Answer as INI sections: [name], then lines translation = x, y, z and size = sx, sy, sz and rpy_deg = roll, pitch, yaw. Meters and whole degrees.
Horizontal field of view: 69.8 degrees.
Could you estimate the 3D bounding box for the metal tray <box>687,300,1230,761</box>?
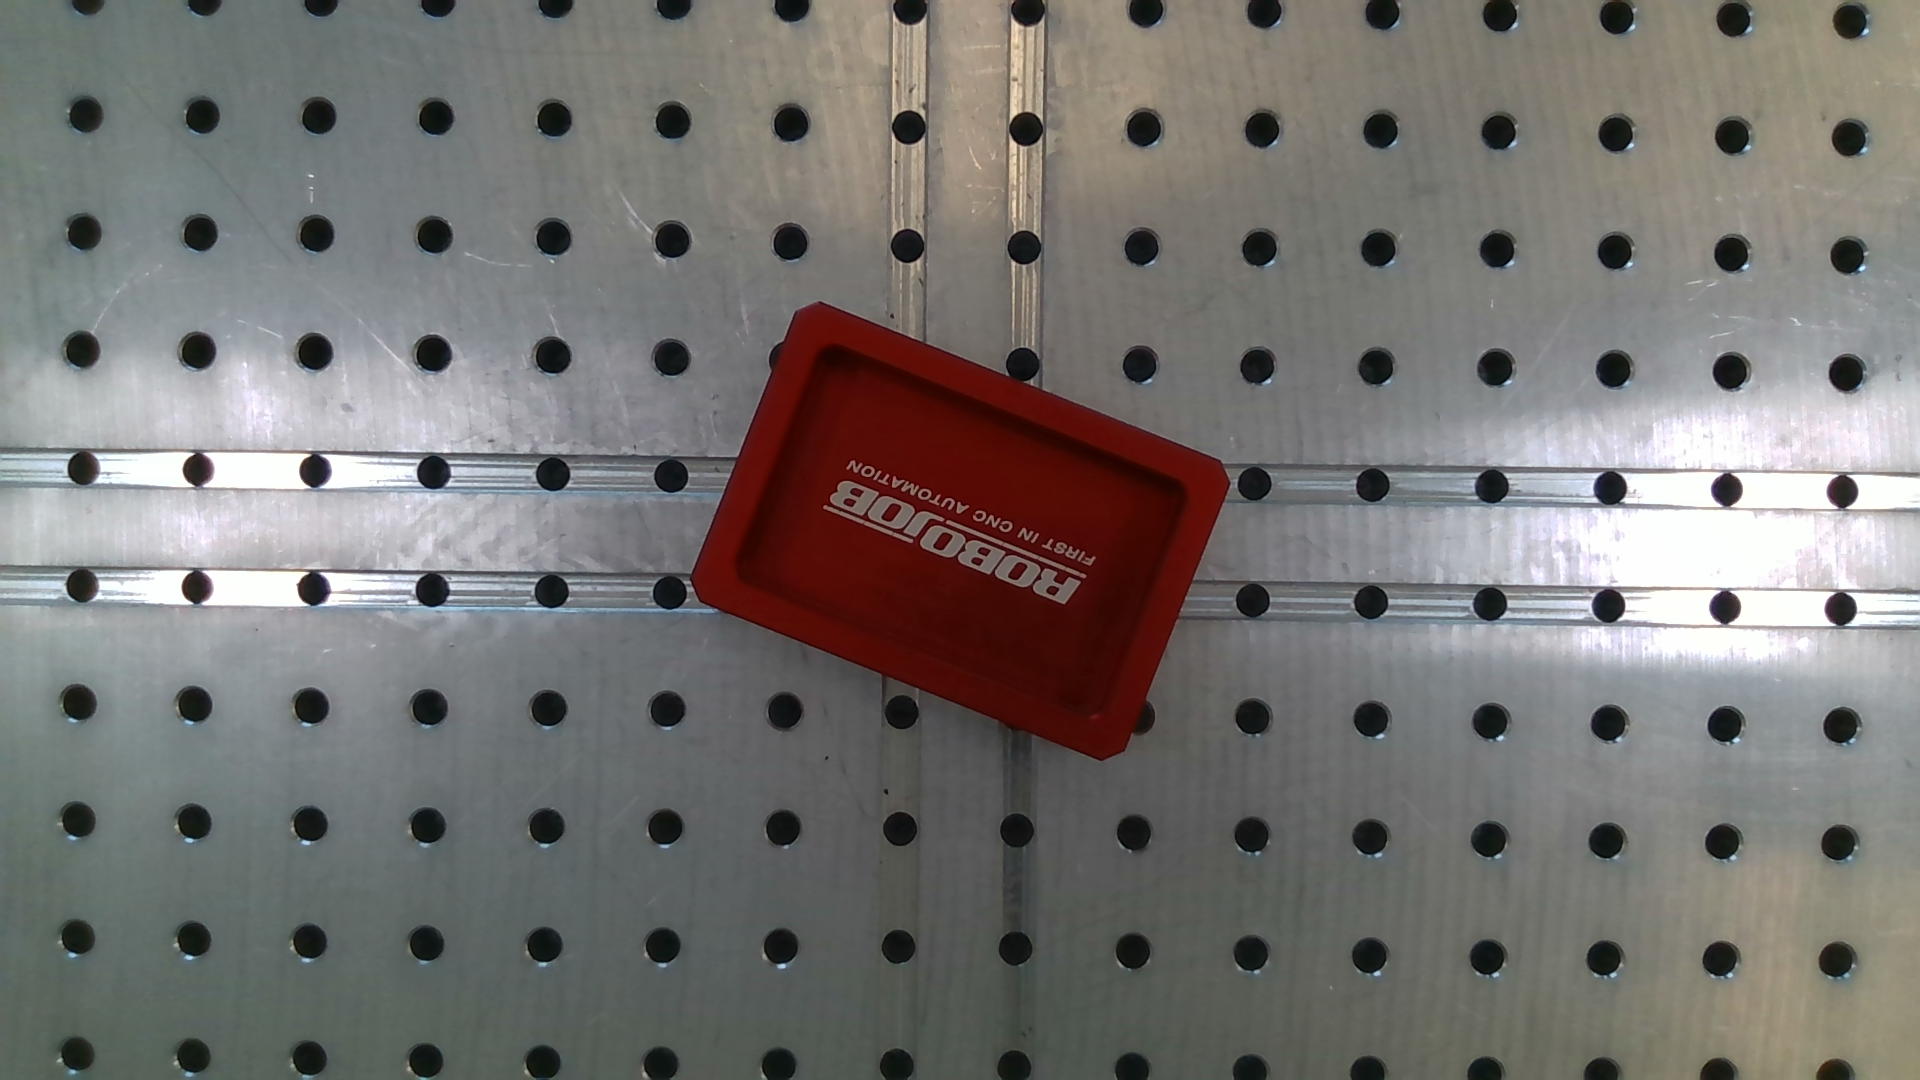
[metal tray]
translation = 0.000, -0.003, 0.395
size = 0.130, 0.030, 0.090
rpy_deg = 21, 91, 0
